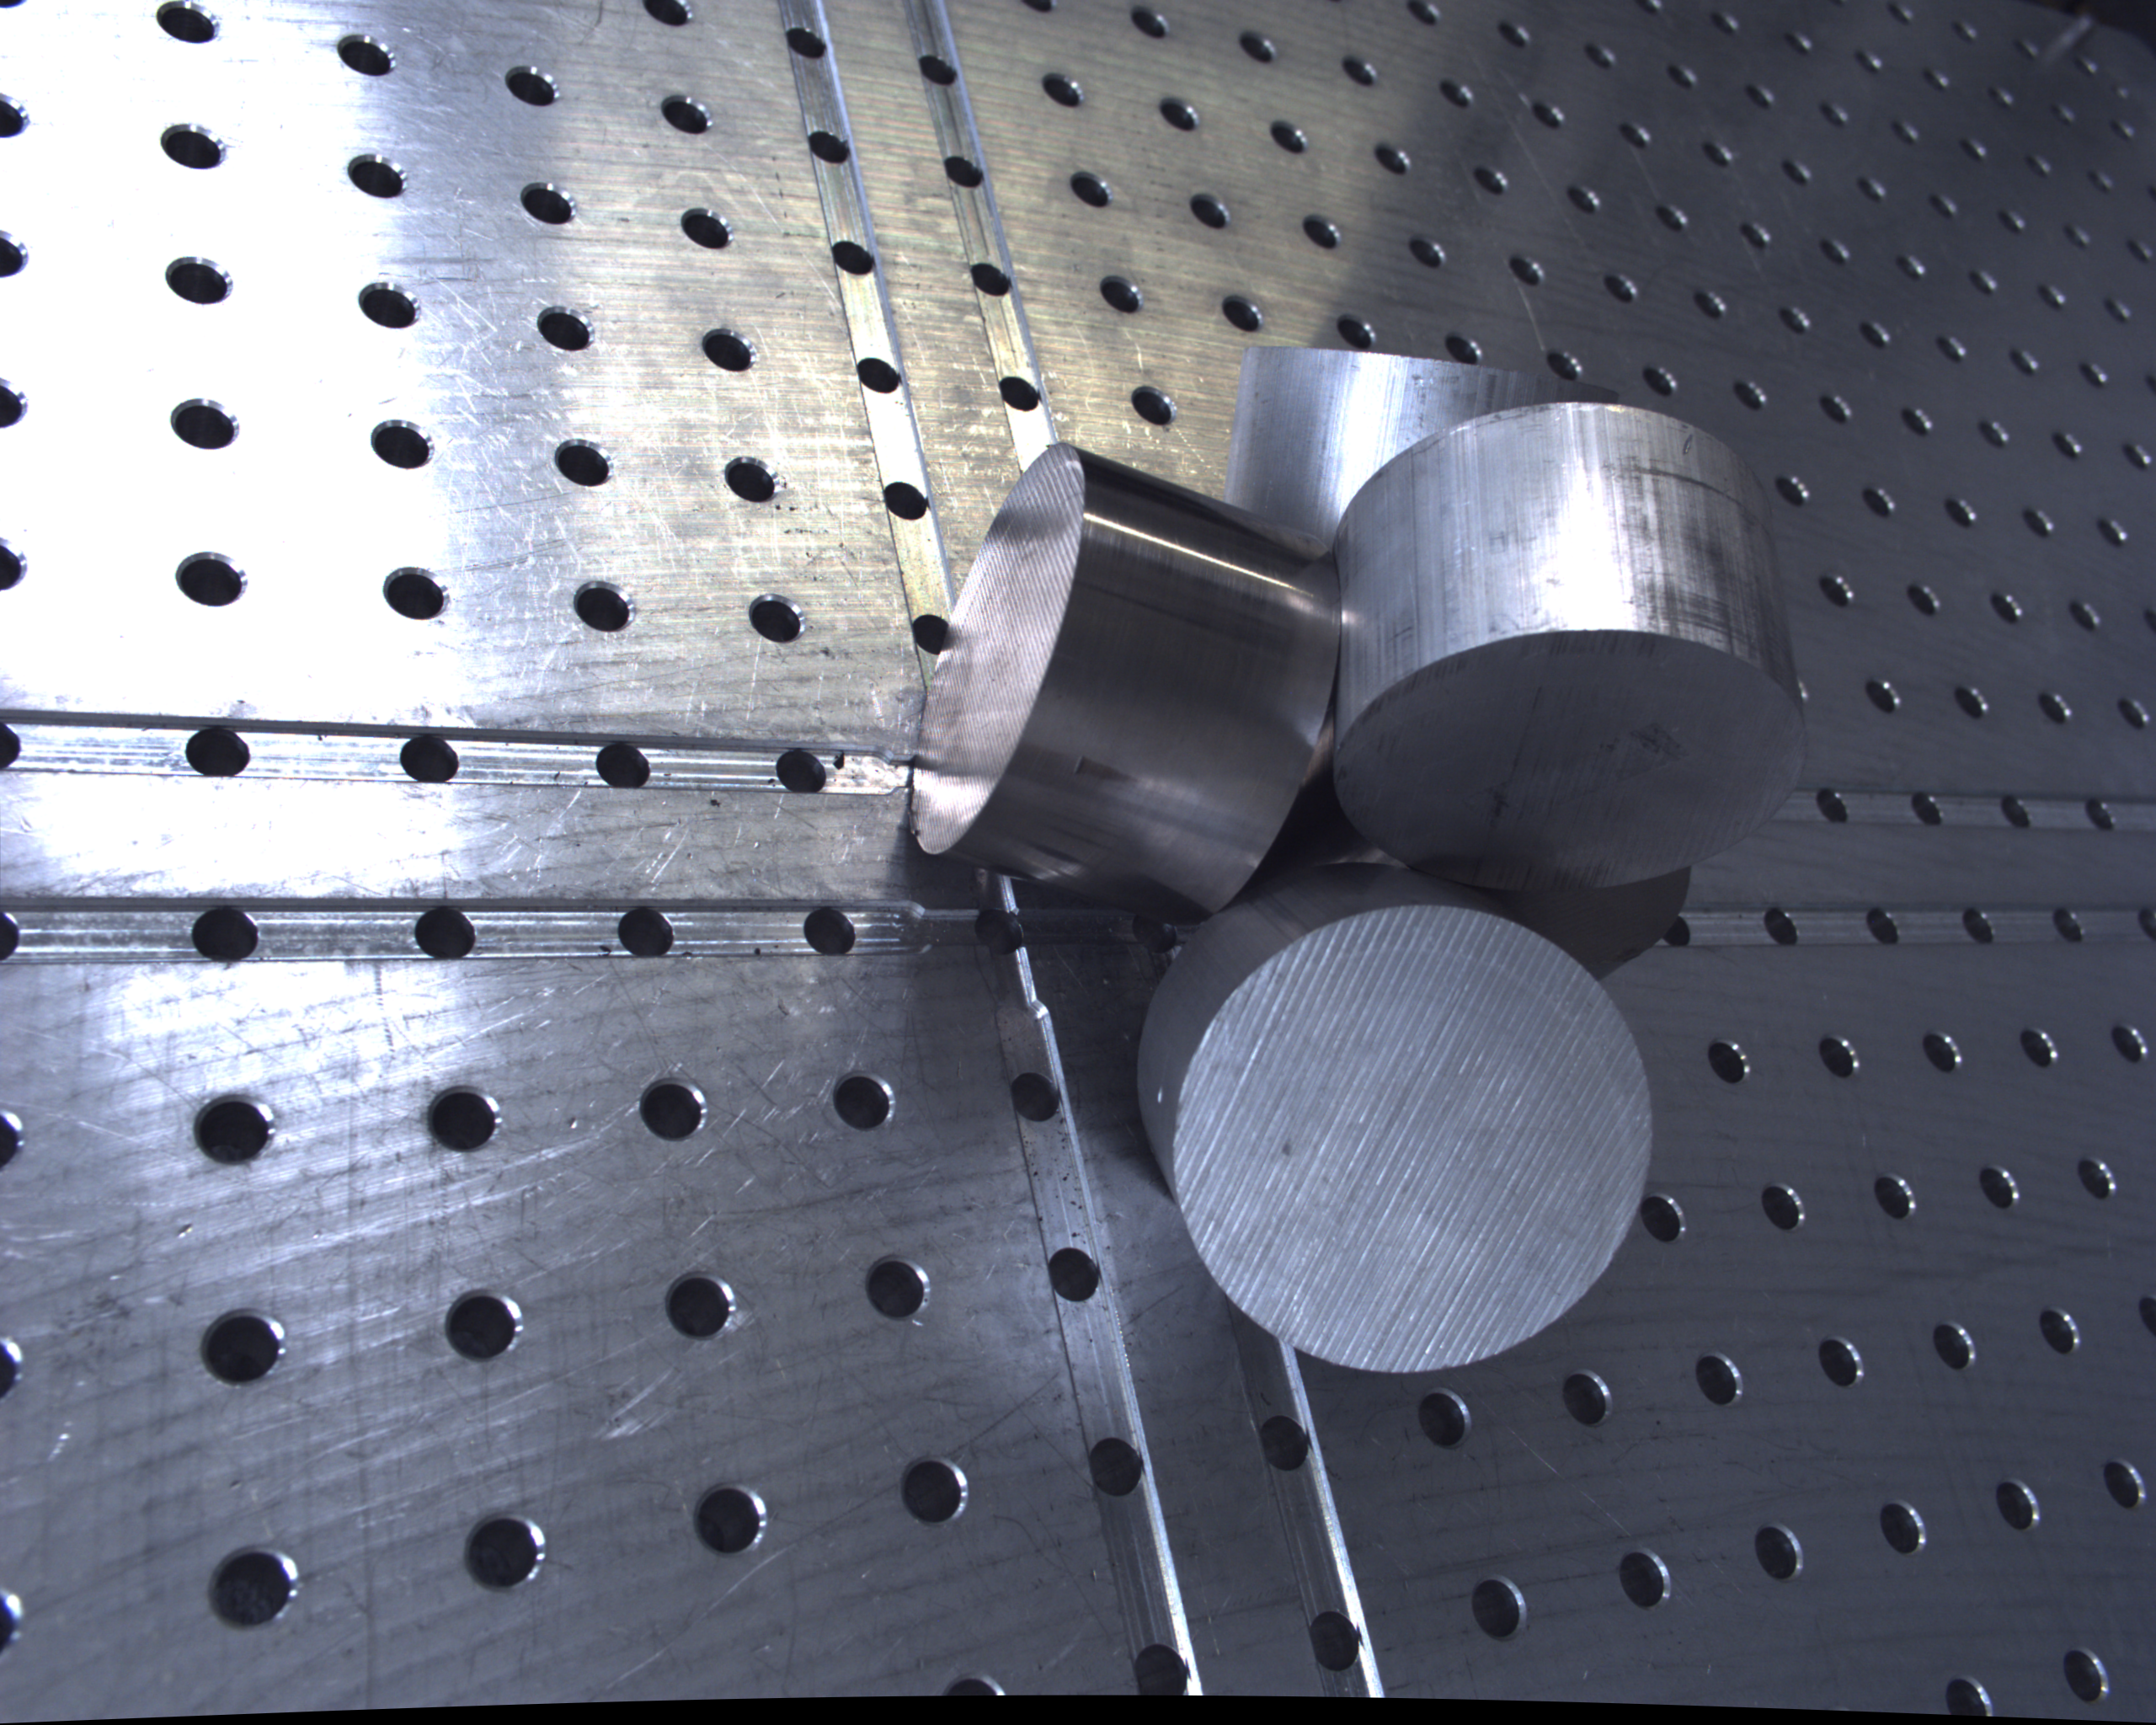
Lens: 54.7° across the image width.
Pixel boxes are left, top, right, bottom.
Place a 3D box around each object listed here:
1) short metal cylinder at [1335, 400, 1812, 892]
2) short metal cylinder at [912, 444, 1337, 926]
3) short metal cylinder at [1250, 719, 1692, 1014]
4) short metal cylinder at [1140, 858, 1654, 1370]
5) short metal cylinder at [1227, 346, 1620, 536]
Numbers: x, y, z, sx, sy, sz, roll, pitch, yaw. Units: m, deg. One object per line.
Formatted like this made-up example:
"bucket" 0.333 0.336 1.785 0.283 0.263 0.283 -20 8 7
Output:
"short metal cylinder" 0.087 -0.037 0.376 0.081 0.080 0.050 16 55 -19
"short metal cylinder" 0.007 -0.033 0.396 0.050 0.080 0.080 17 55 -18
"short metal cylinder" 0.079 -0.004 0.435 0.081 0.050 0.080 13 55 -20
"short metal cylinder" 0.054 0.042 0.368 0.081 0.050 0.079 -1 98 -5
"short metal cylinder" 0.072 -0.081 0.452 0.081 0.080 0.050 2 101 -27
